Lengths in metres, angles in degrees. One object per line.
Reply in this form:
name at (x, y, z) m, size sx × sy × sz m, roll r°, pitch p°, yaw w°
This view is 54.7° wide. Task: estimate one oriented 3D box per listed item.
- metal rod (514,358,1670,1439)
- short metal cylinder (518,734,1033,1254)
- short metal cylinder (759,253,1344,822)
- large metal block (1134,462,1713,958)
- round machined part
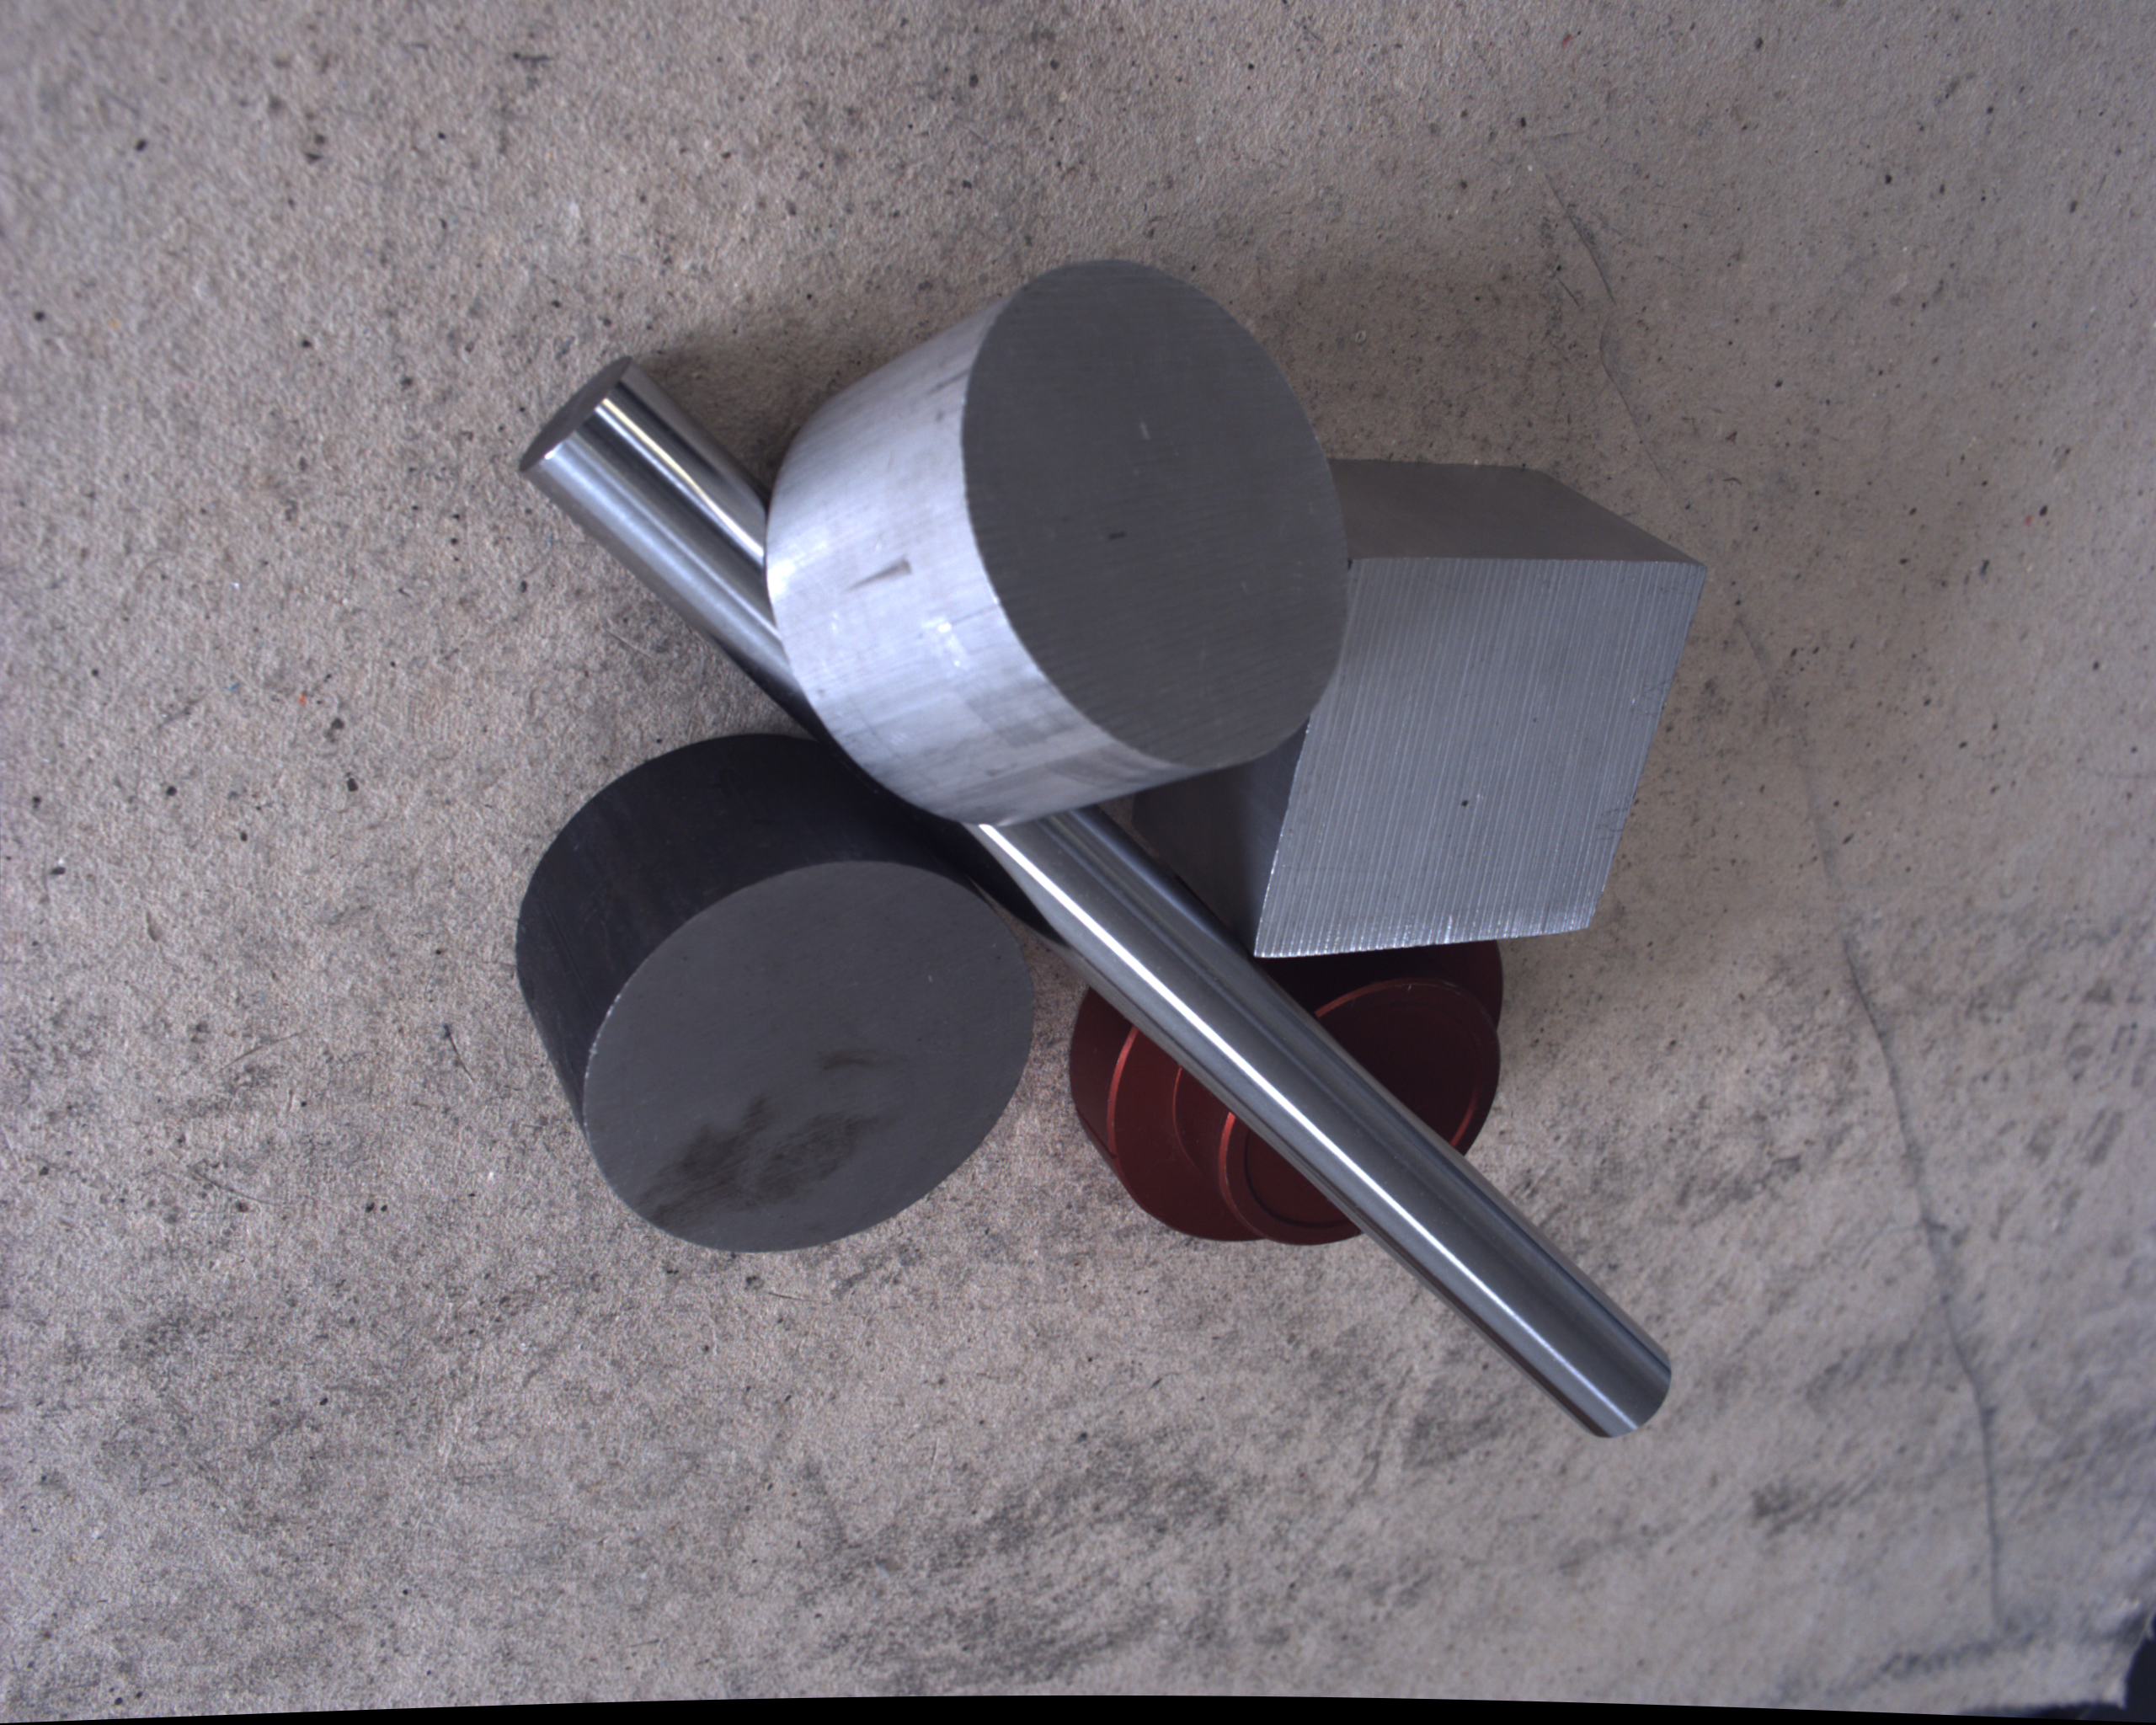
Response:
metal rod at (0.020, 0.023, 0.389) m, size 0.025 × 0.025 × 0.300 m, roll -45°, pitch 116°, yaw 3°
short metal cylinder at (-0.055, 0.023, 0.378) m, size 0.081 × 0.050 × 0.079 m, roll -14°, pitch 124°, yaw -21°
short metal cylinder at (-0.003, -0.050, 0.335) m, size 0.081 × 0.050 × 0.080 m, roll 11°, pitch 74°, yaw -40°
large metal block at (0.064, -0.031, 0.406) m, size 0.081 × 0.050 × 0.079 m, roll -3°, pitch 120°, yaw -27°
round machined part at (0.051, 0.045, 0.452) m, size 0.099 × 0.042 × 0.097 m, roll -14°, pitch 124°, yaw -21°
